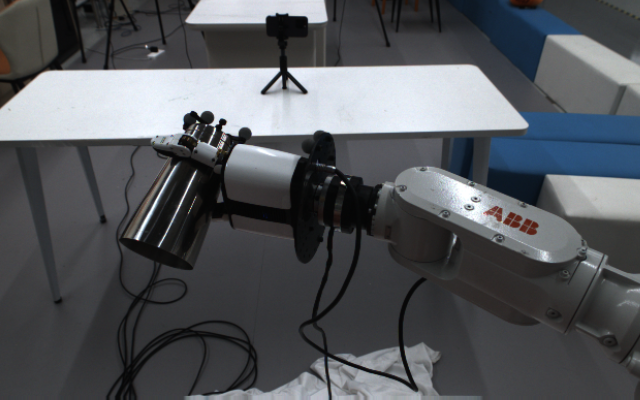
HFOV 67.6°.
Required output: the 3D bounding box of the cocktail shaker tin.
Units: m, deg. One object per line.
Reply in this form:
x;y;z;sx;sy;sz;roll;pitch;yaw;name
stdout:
-0.167;-0.011;0.605;0.093;0.093;0.170;12;65;14;cocktail shaker tin
